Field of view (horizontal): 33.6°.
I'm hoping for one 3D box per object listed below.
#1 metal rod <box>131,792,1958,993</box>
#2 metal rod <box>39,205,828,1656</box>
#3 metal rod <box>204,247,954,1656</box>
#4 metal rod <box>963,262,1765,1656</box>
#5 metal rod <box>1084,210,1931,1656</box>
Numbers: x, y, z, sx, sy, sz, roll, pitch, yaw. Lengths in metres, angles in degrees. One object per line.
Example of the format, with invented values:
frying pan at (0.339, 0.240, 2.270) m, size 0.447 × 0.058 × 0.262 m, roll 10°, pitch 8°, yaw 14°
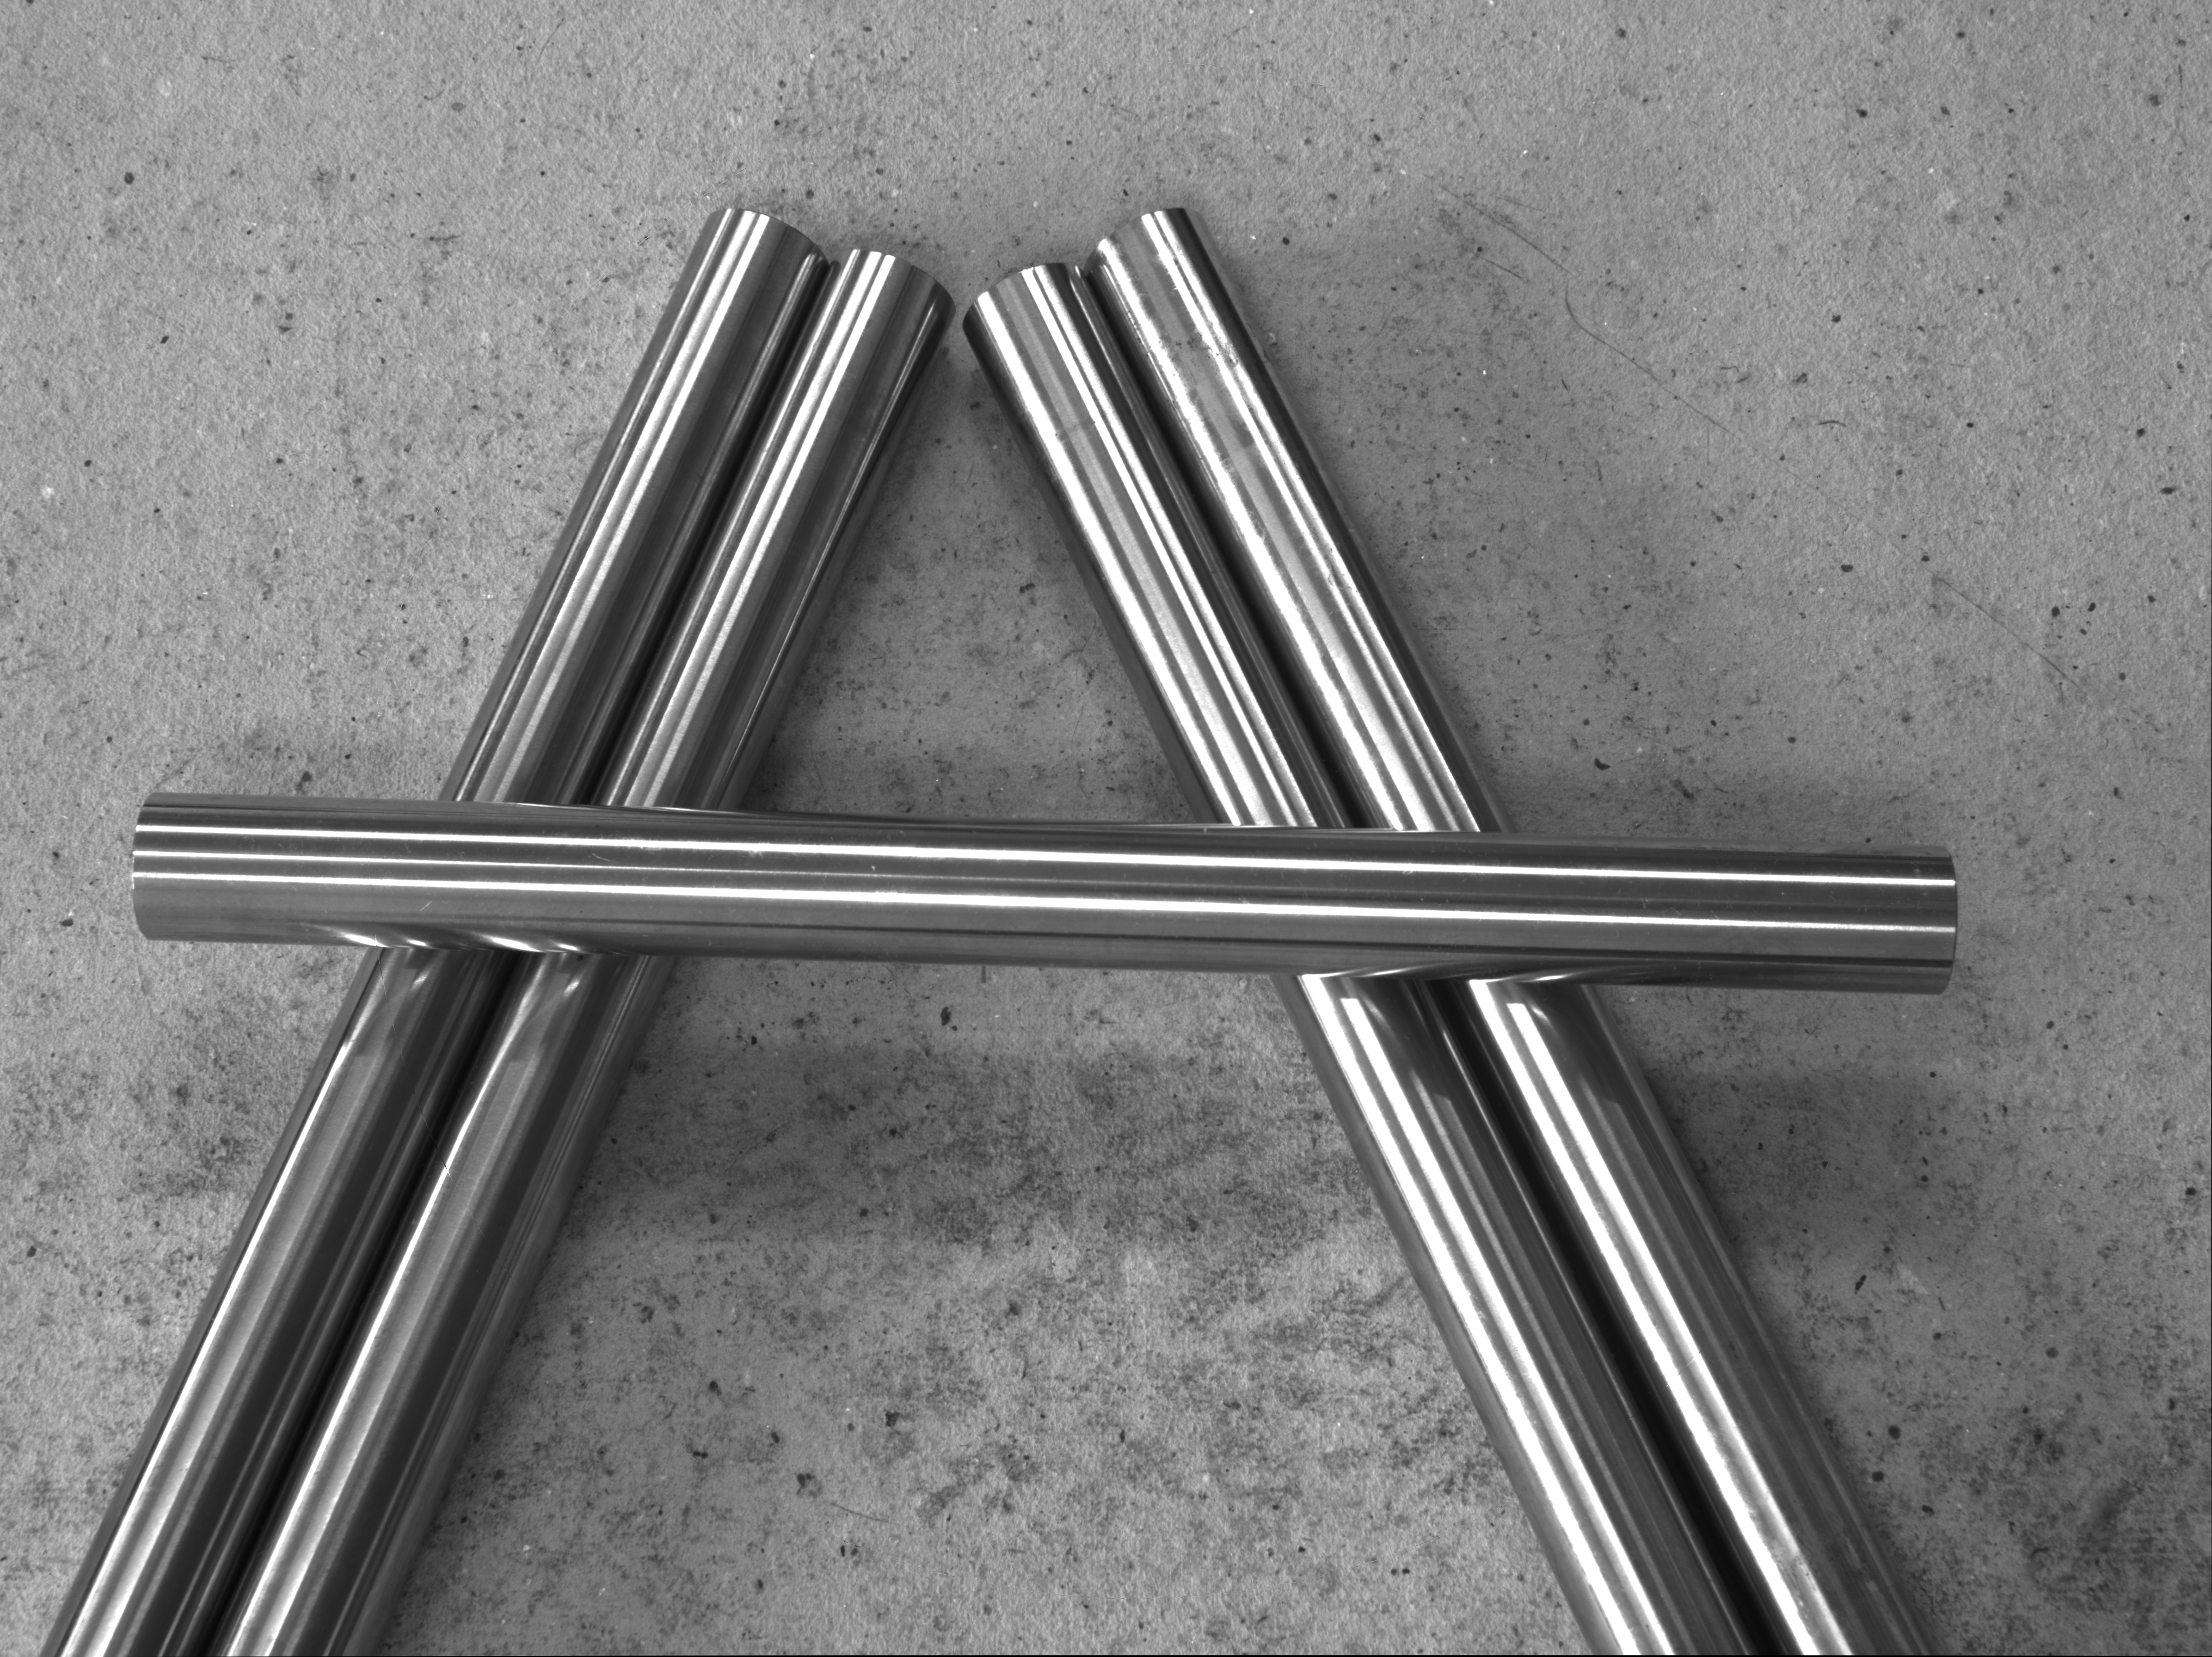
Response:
metal rod at (-0.010, 0.011, 0.614) m, size 0.300 × 0.025 × 0.025 m, roll 2°, pitch 70°, yaw 0°
metal rod at (-0.115, 0.023, 0.636) m, size 0.025 × 0.025 × 0.300 m, roll 19°, pitch 71°, yaw 7°
metal rod at (-0.092, 0.031, 0.633) m, size 0.025 × 0.025 × 0.300 m, roll 19°, pitch 71°, yaw 7°
metal rod at (0.045, 0.031, 0.634) m, size 0.025 × 0.025 × 0.300 m, roll -22°, pitch 71°, yaw -8°
metal rod at (0.067, 0.021, 0.638) m, size 0.025 × 0.025 × 0.300 m, roll -22°, pitch 71°, yaw -8°
